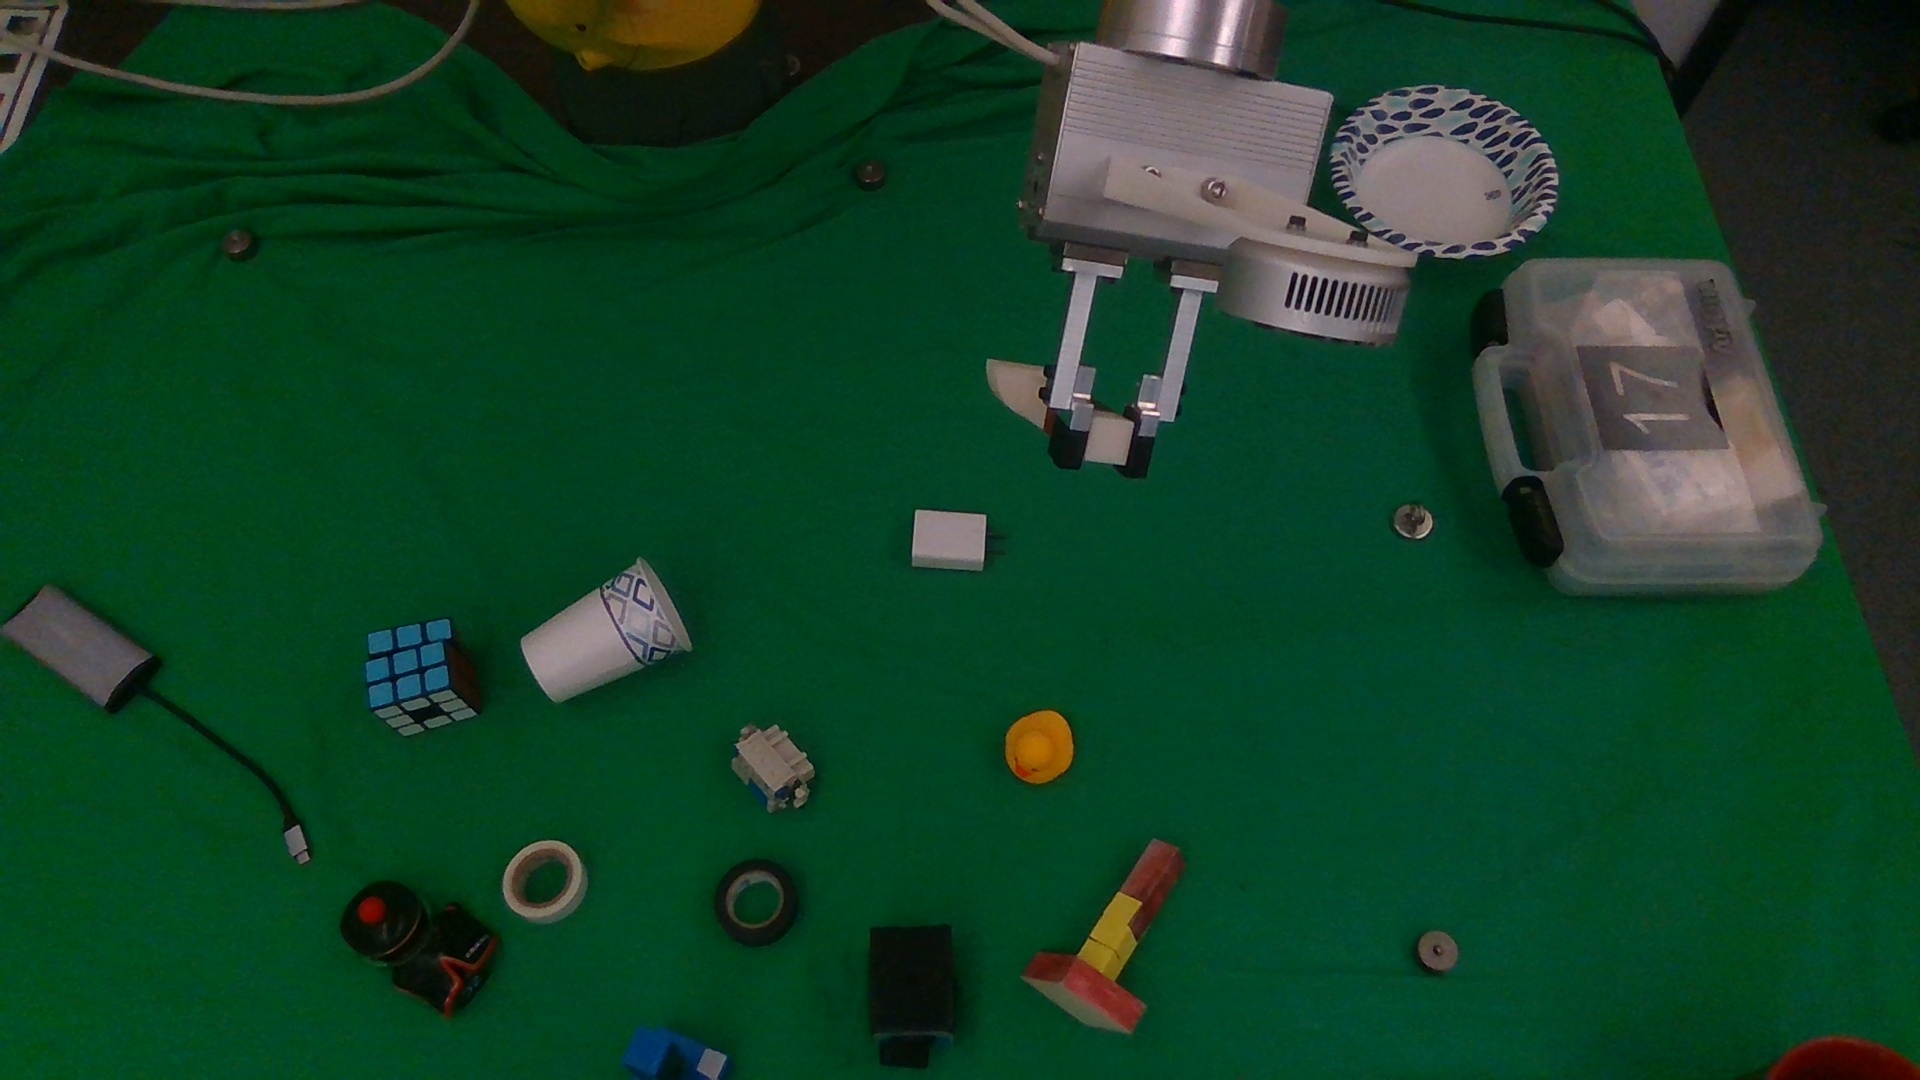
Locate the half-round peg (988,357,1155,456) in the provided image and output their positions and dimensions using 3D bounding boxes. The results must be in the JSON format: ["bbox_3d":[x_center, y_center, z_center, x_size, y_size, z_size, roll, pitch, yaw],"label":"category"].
[{"bbox_3d":[0.056,-0.063,0.657,0.054,0.122,0.031,2,105,-18],"label":"half-round peg"}]

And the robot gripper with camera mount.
[{"bbox_3d":[0.102,-0.085,0.525,0.119,0.194,0.158,6,106,-17],"label":"robot gripper with camera mount"}]
